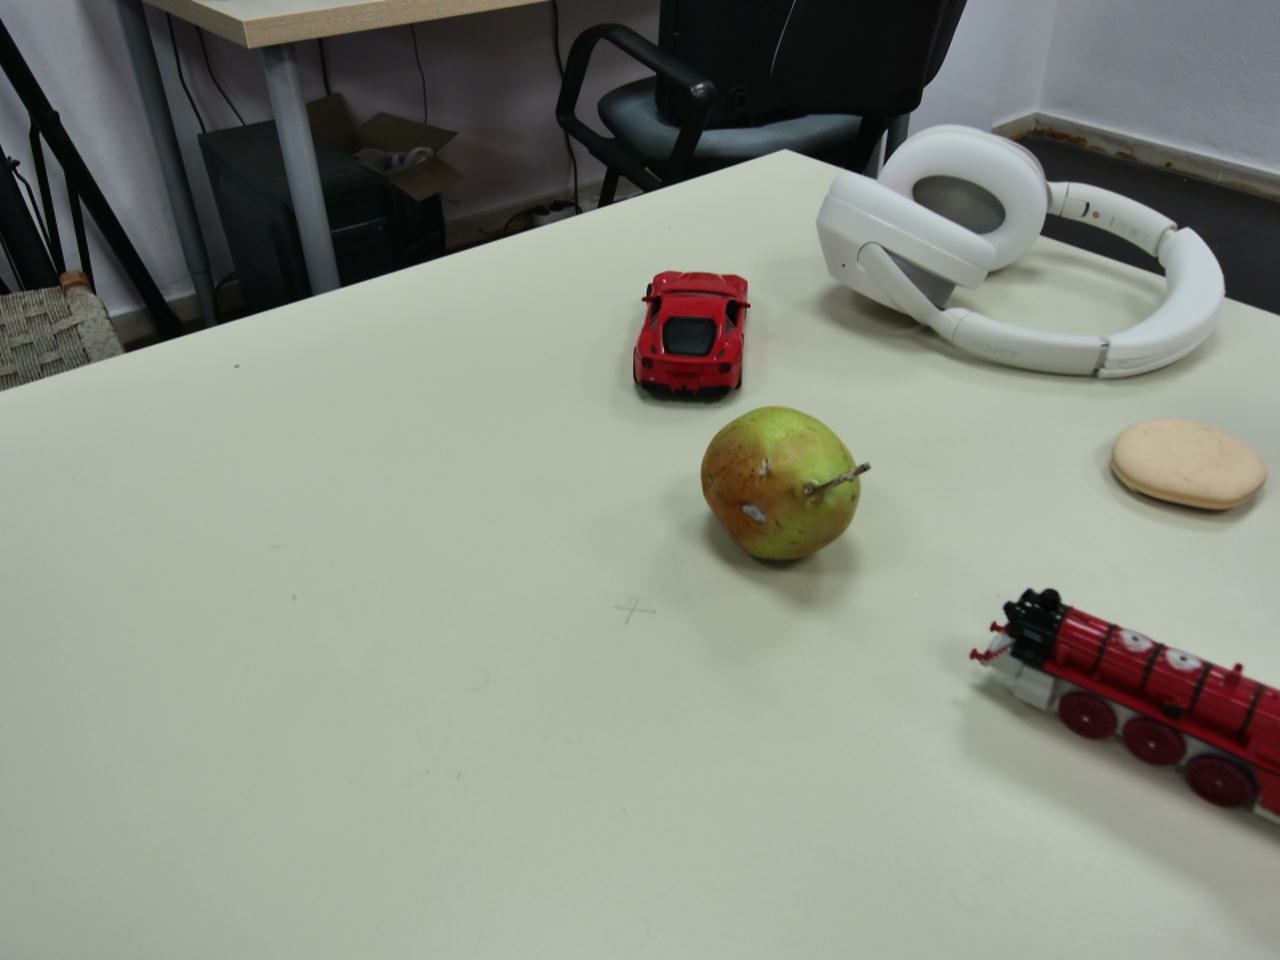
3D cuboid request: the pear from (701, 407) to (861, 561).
[{"bbox_3d":[0.058,0.000,0.422,0.068,0.069,0.070,6,35,12],"label":"pear"}]
